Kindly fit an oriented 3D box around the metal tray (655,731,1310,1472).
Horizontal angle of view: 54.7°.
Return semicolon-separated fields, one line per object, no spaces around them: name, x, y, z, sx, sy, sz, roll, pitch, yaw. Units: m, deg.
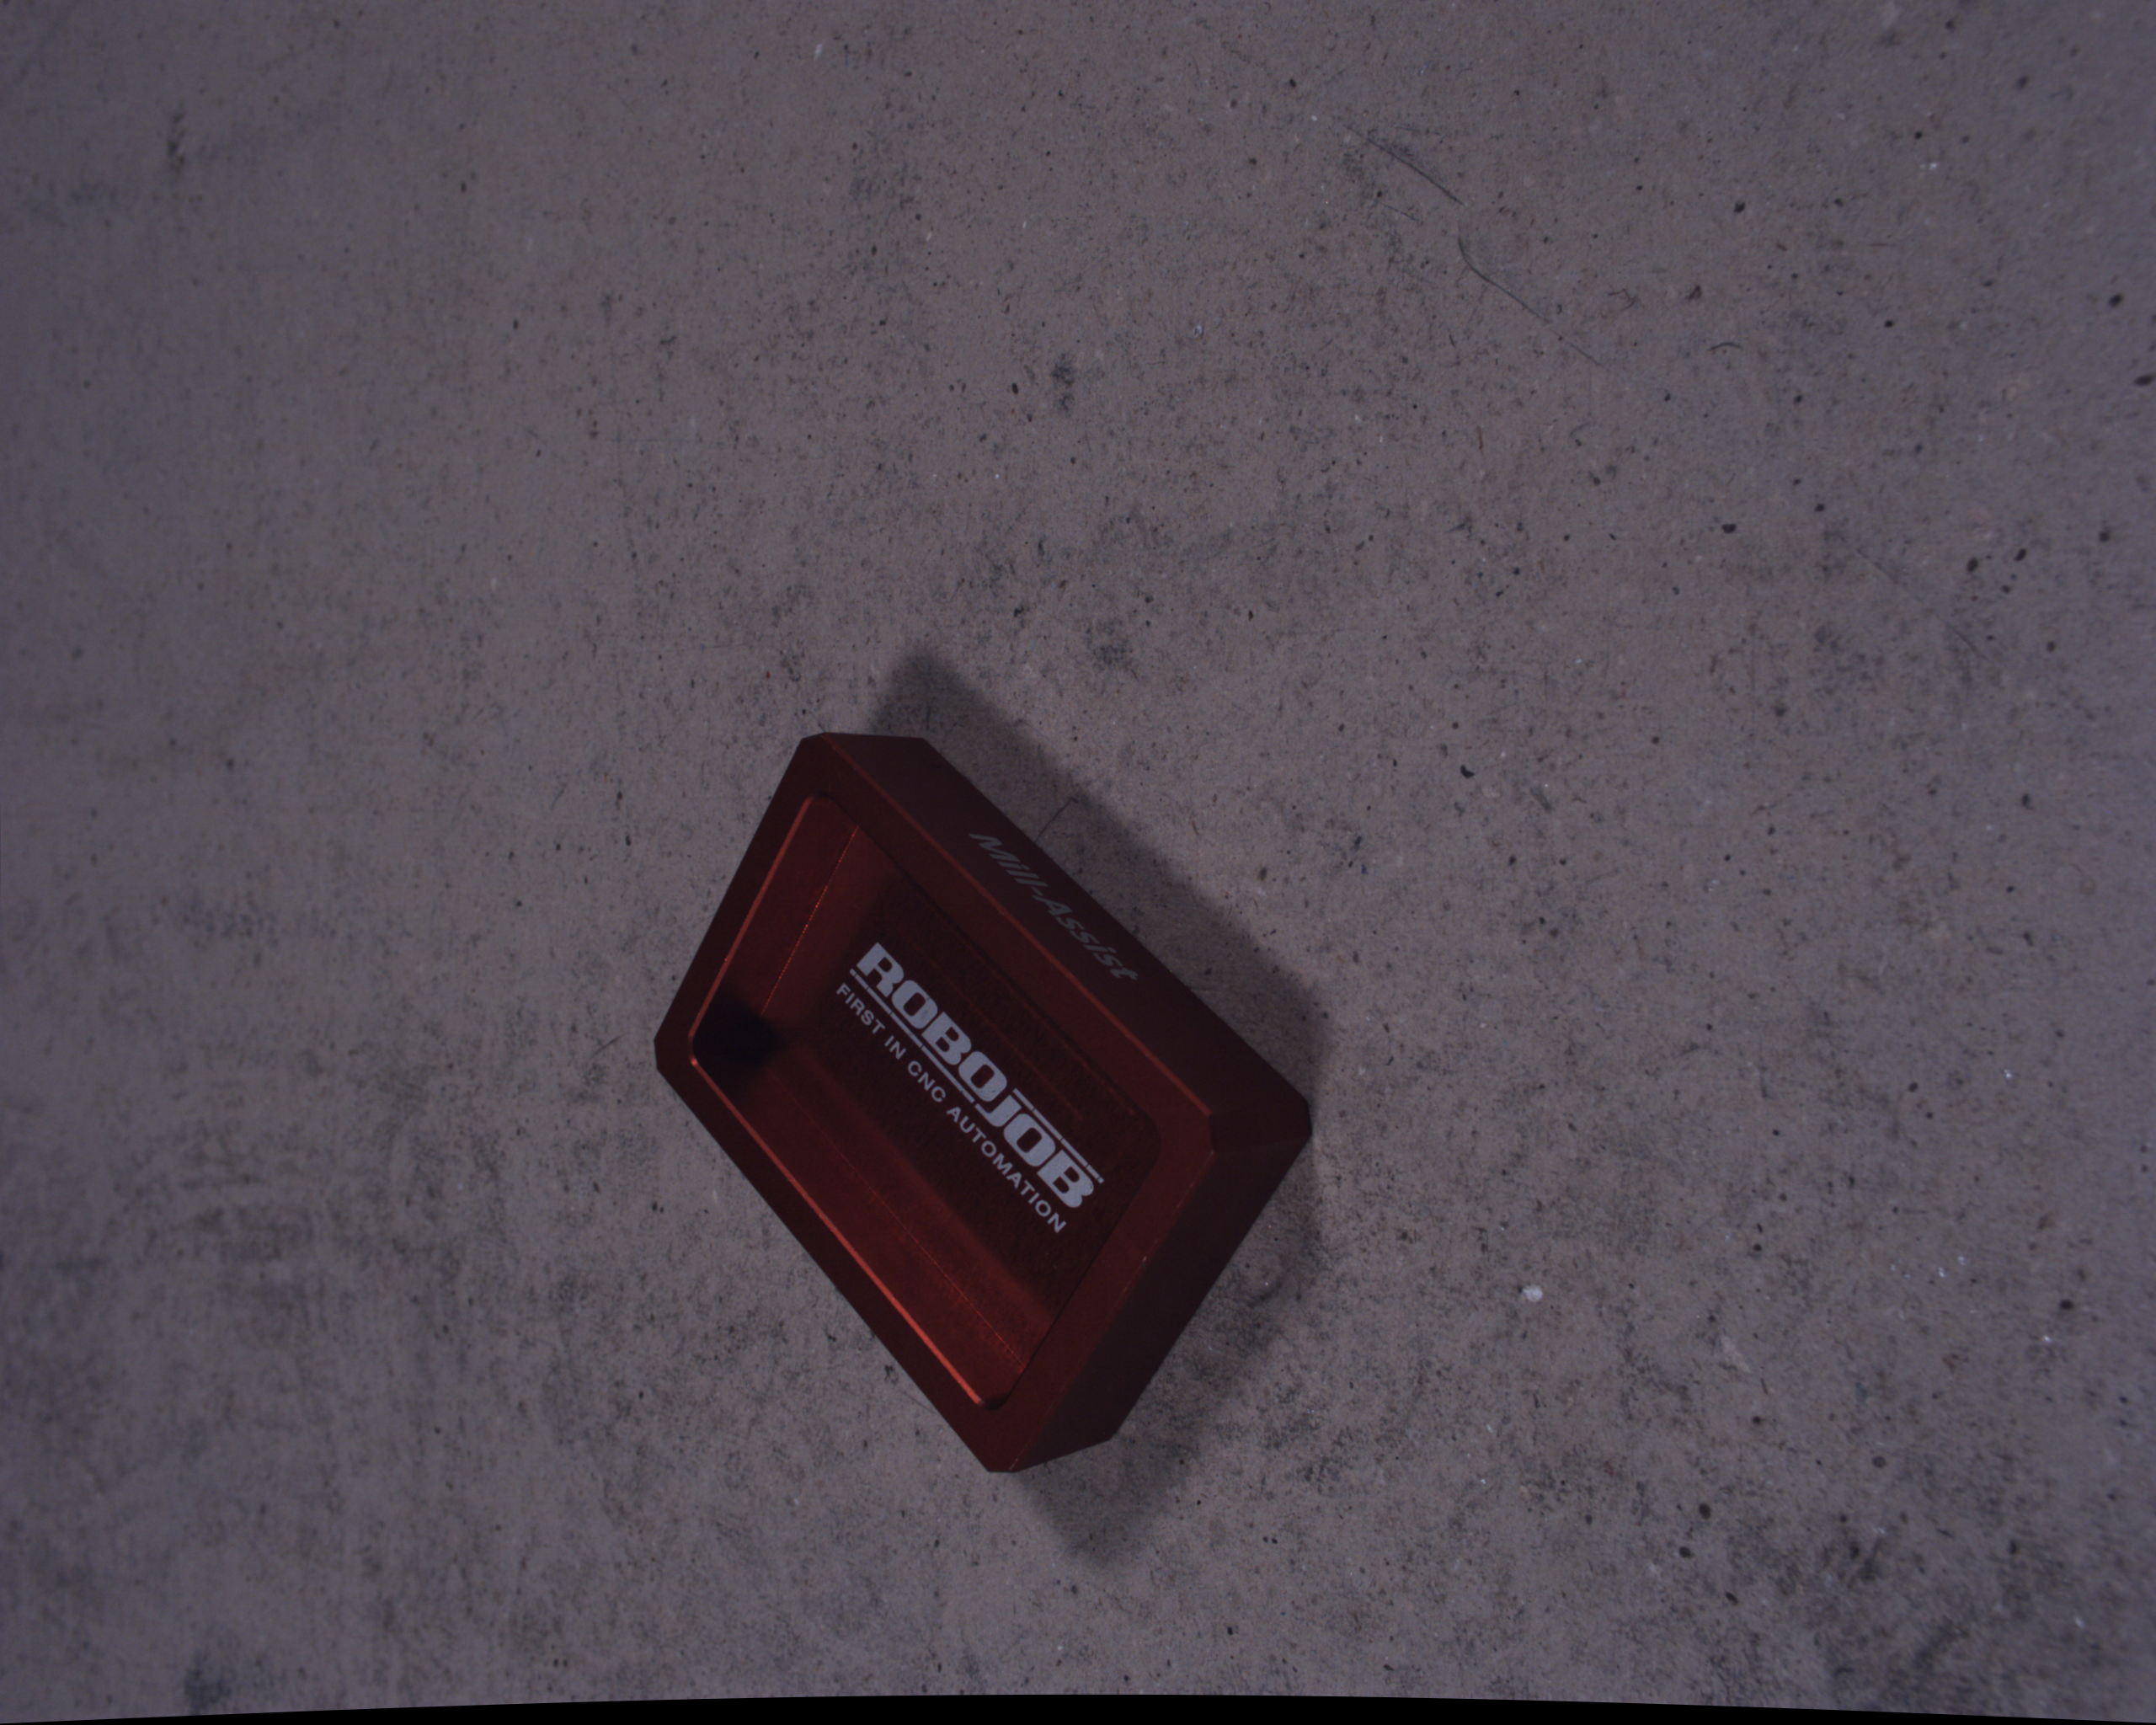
metal tray;-0.025;0.044;0.422;0.130;0.030;0.089;43;116;31
